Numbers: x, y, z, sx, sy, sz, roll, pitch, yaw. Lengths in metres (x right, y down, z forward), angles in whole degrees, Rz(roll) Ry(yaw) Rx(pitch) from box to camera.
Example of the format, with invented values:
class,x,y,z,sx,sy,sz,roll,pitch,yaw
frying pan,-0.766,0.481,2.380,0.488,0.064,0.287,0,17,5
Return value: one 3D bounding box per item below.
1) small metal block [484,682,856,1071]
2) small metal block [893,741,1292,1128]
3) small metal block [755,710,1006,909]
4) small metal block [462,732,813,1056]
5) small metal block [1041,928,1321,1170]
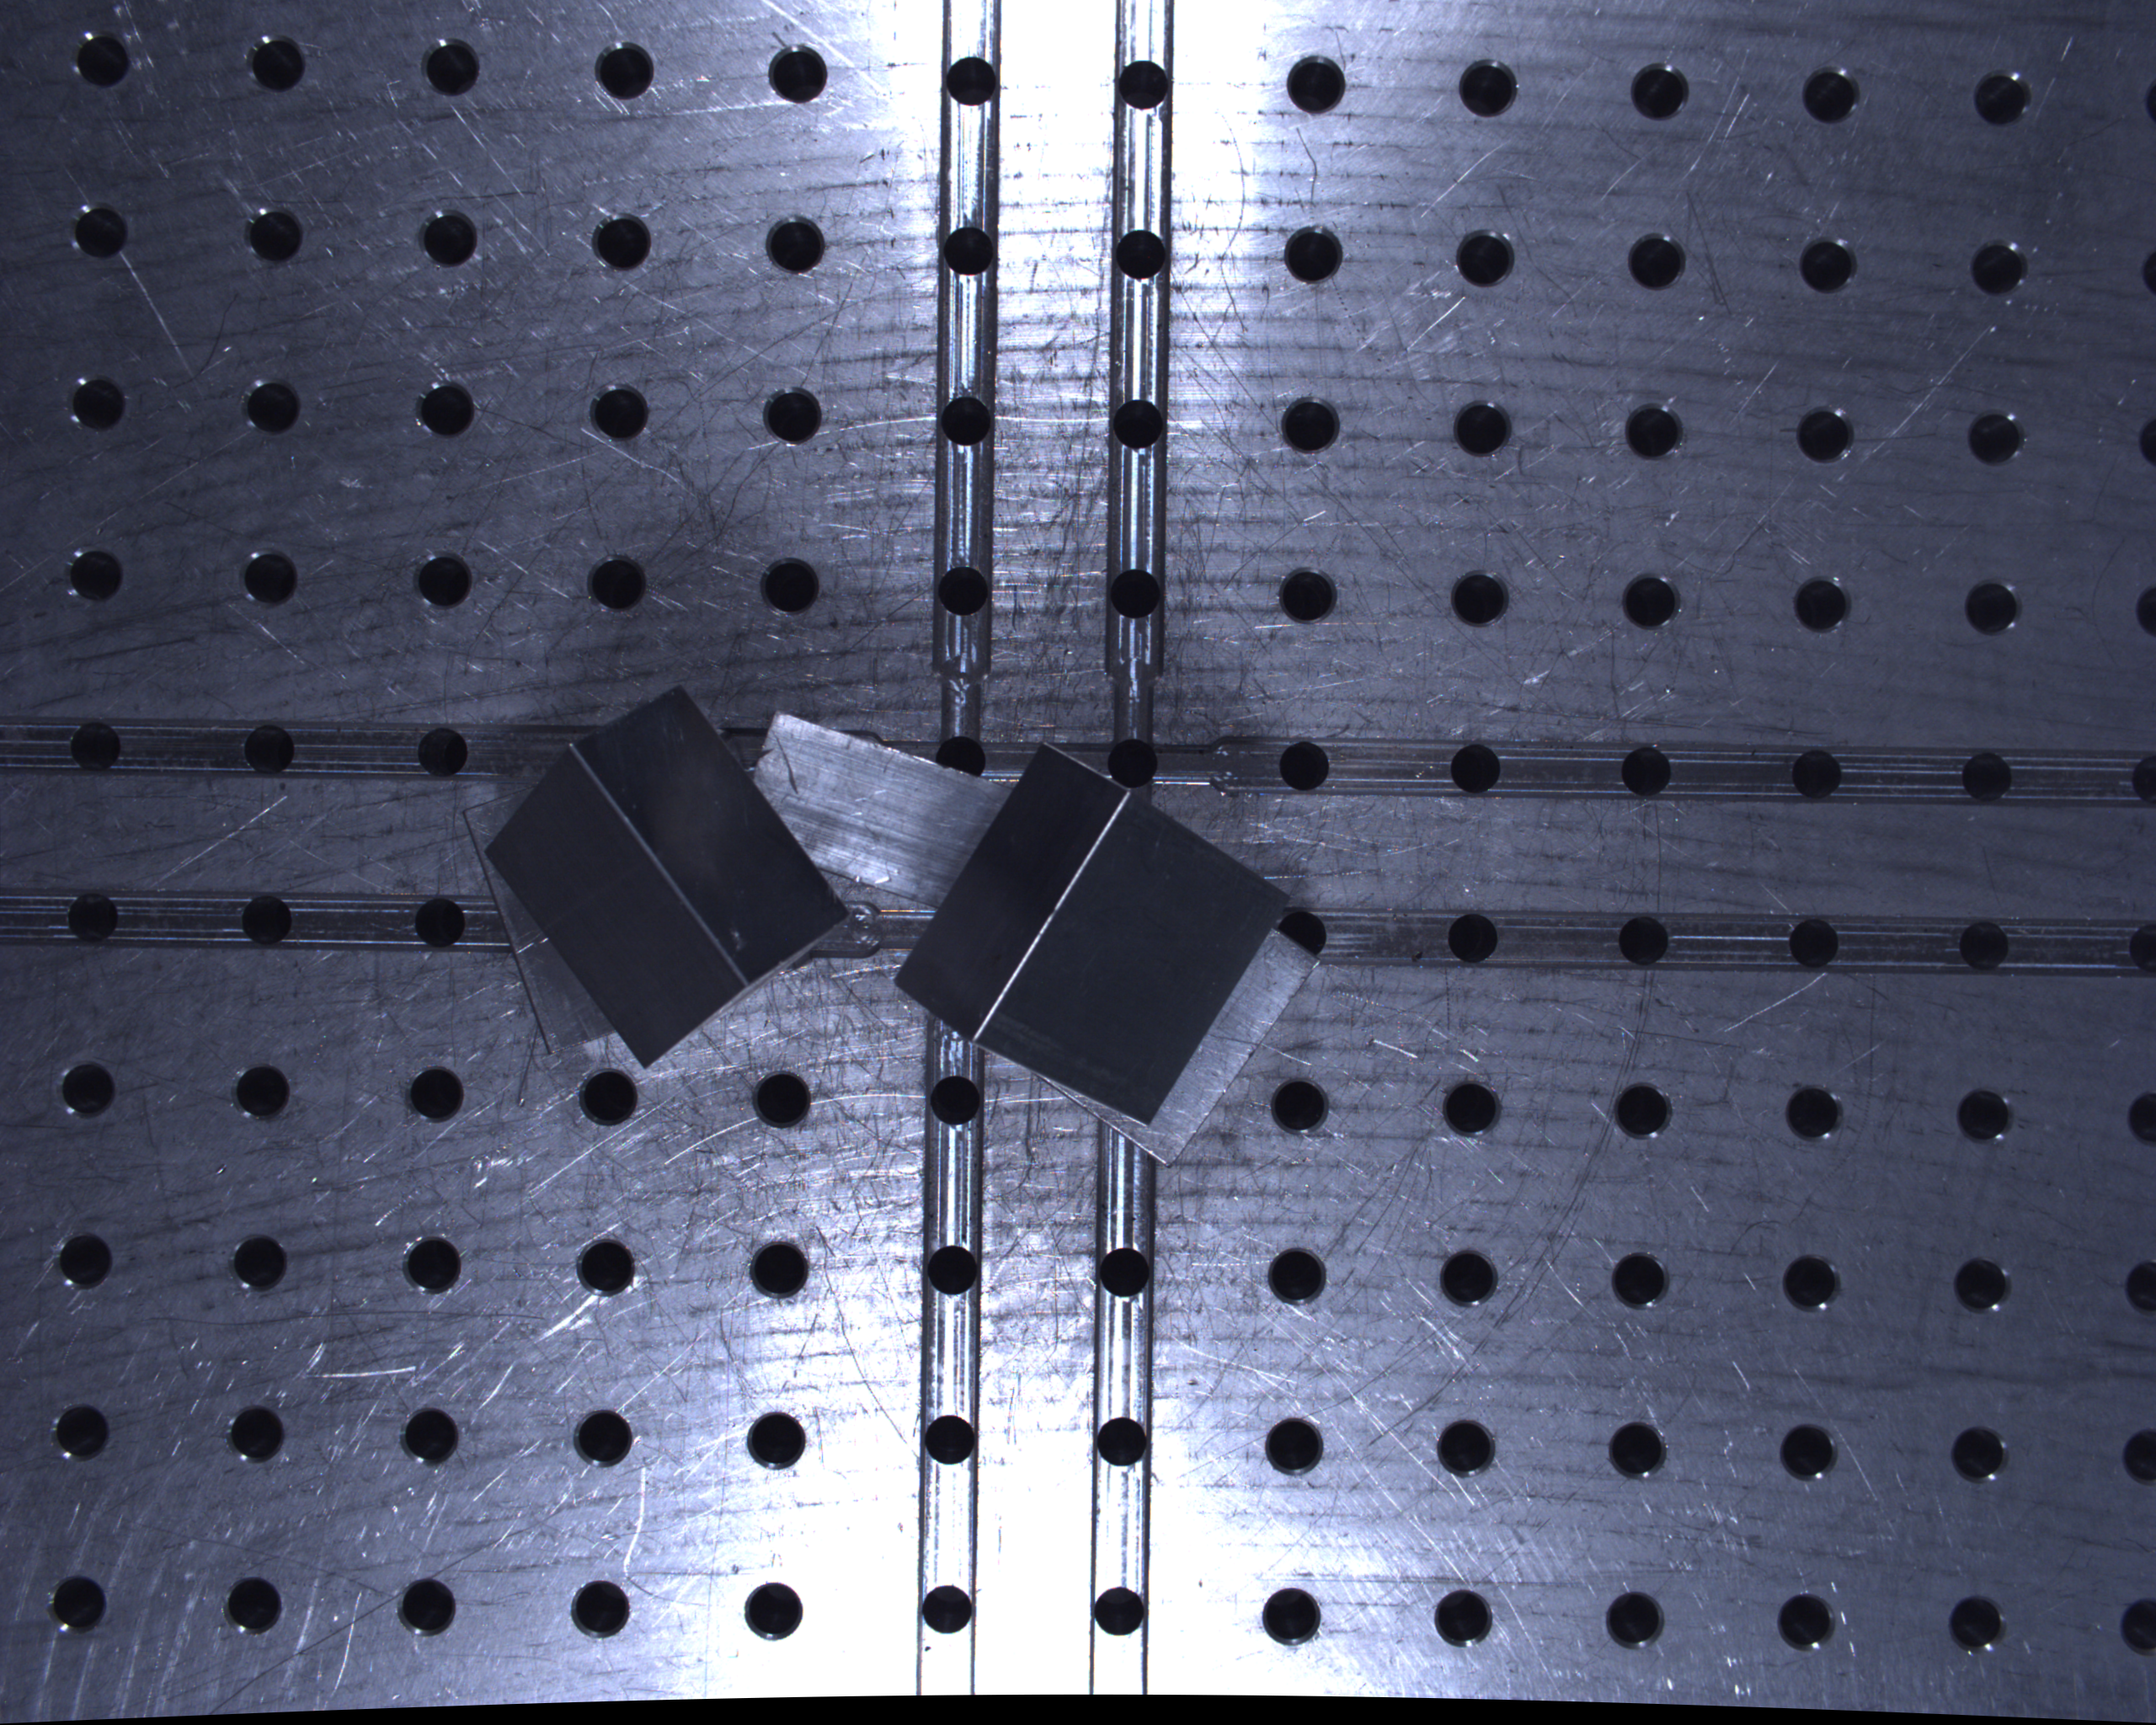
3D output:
class,x,y,z,sx,sy,sz,roll,pitch,yaw
small metal block,-0.074,0.004,0.372,0.025,0.050,0.050,-37,91,-39
small metal block,0.004,0.014,0.374,0.050,0.025,0.050,32,89,-45
small metal block,-0.035,-0.008,0.400,0.050,0.050,0.025,19,90,-1
small metal block,-0.086,0.005,0.412,0.050,0.025,0.050,-19,90,-1
small metal block,0.012,0.024,0.414,0.050,0.025,0.050,36,90,-1
